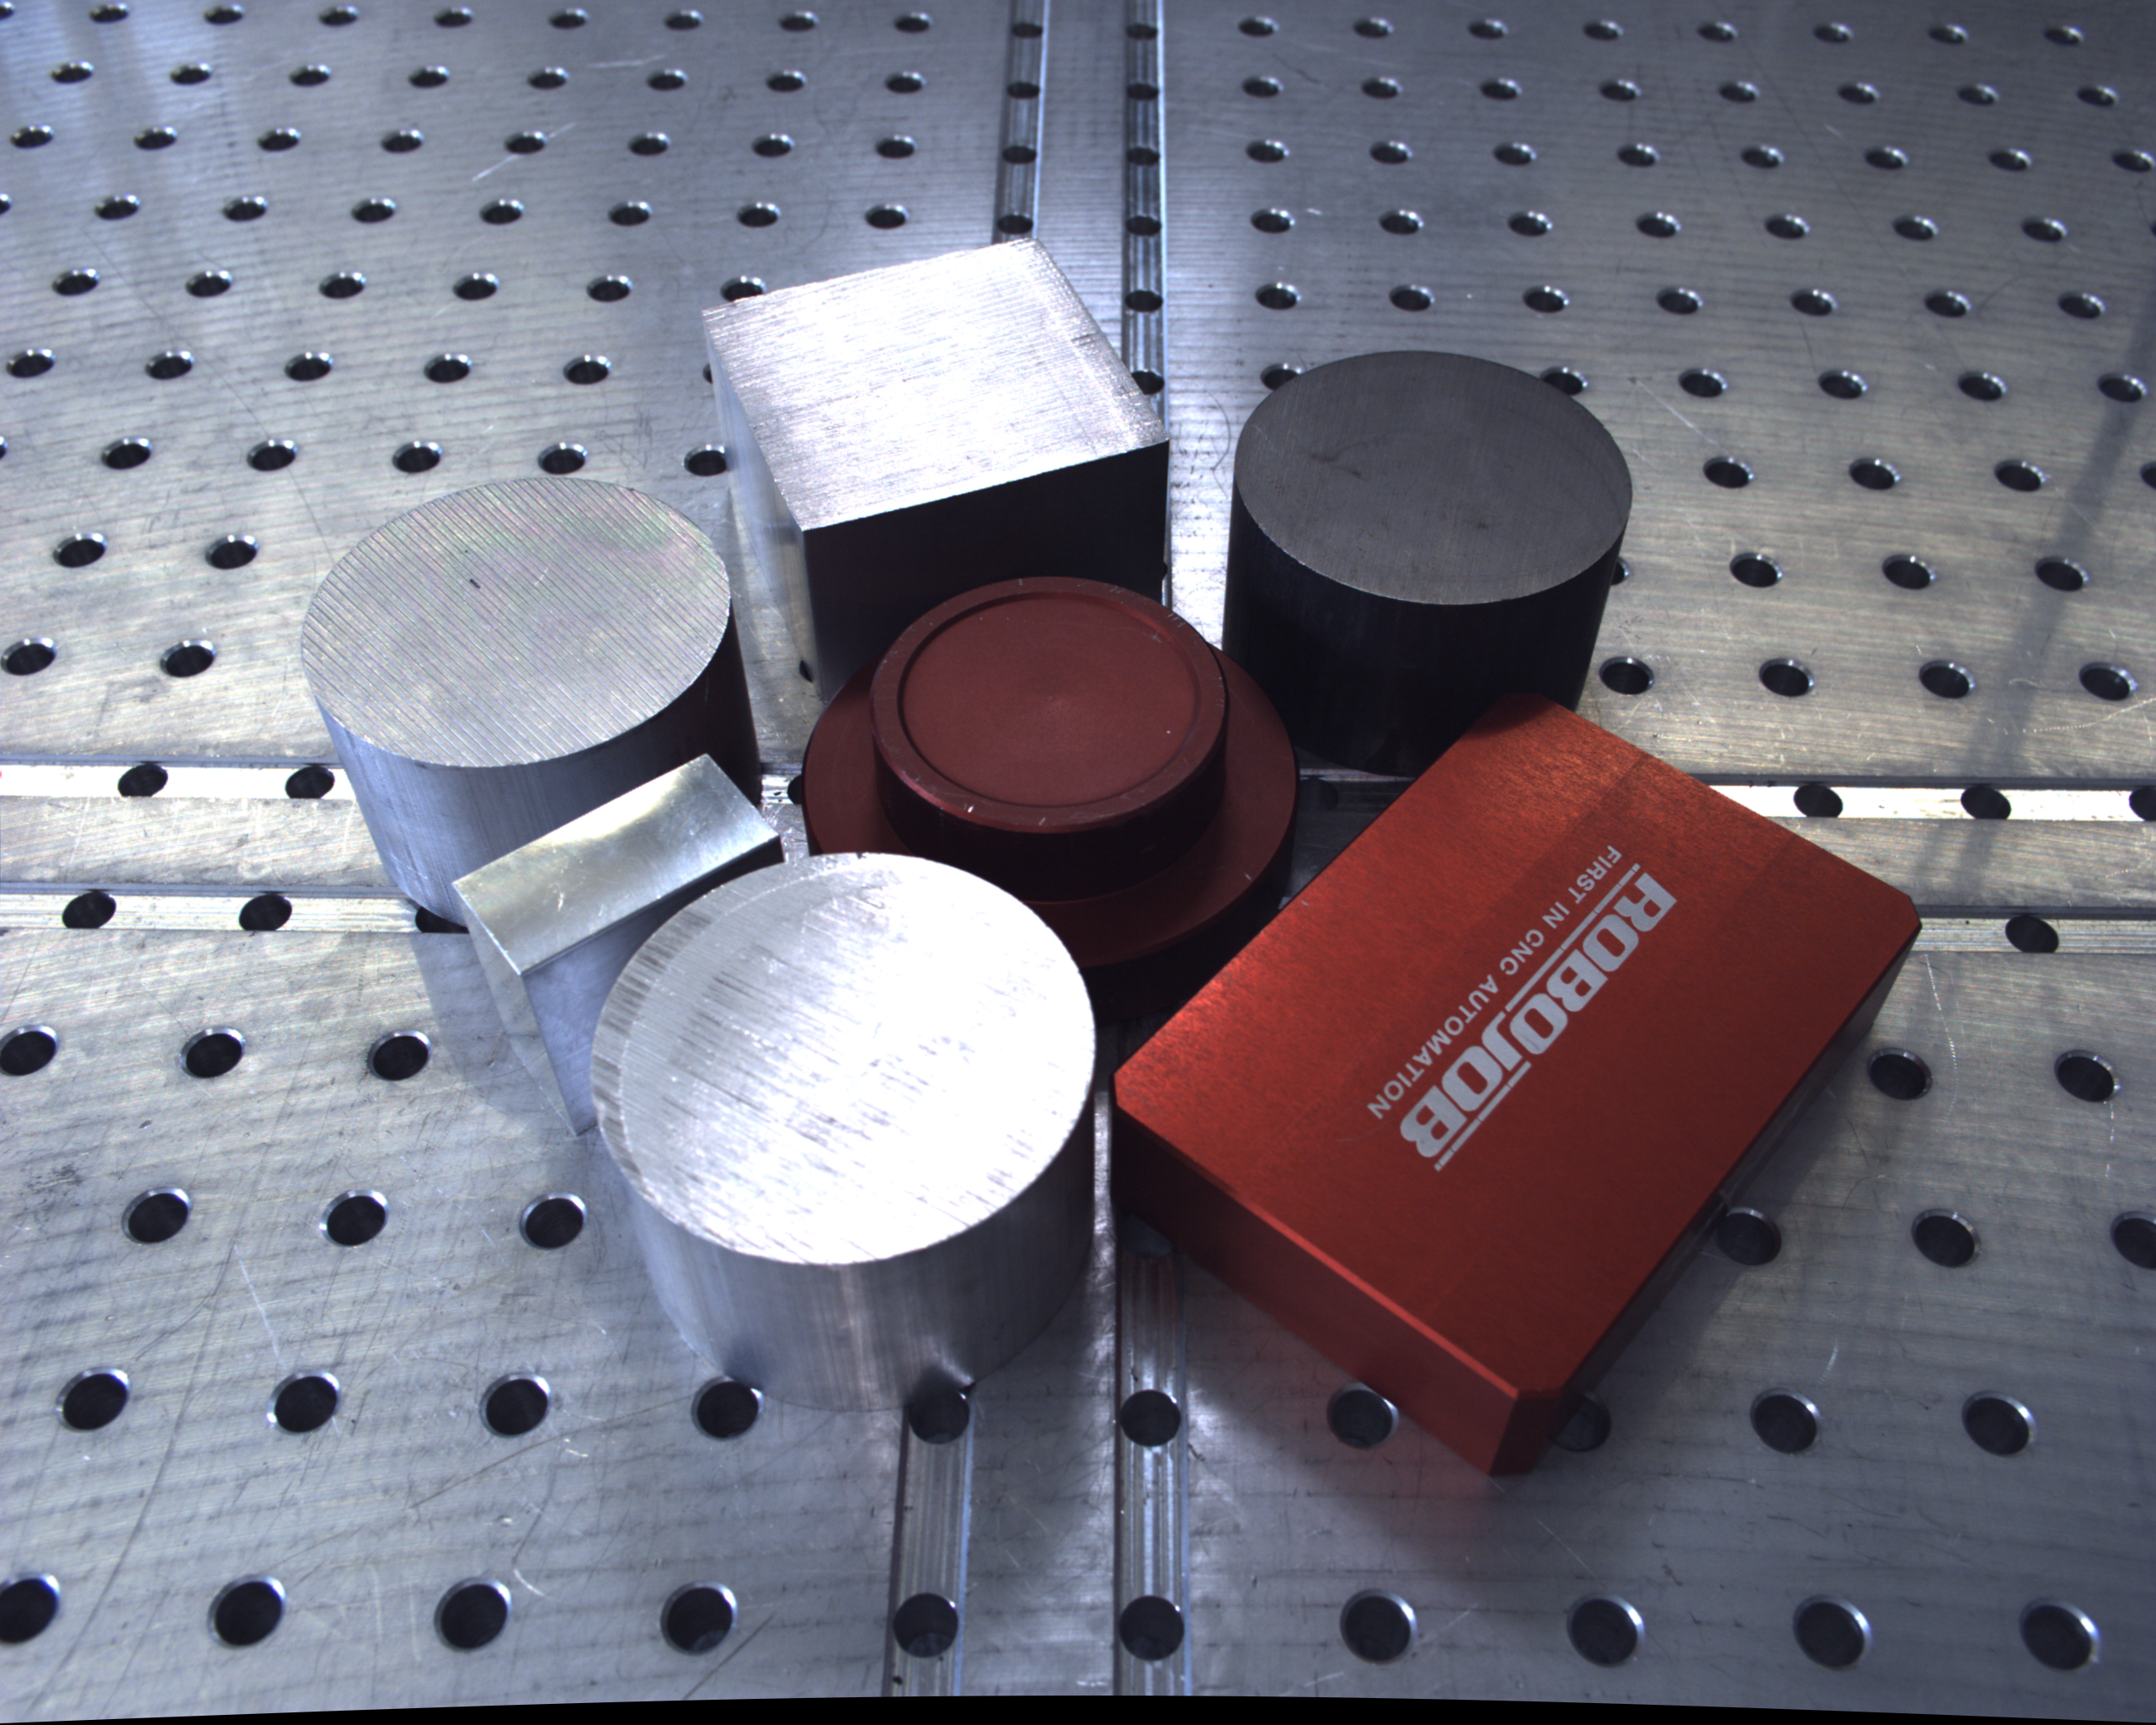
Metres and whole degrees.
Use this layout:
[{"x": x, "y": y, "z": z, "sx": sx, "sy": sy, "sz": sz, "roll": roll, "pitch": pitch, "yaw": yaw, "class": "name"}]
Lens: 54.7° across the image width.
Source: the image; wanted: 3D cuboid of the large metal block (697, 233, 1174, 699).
[{"x": -0.032, "y": -0.090, "z": 0.466, "sx": 0.081, "sy": 0.050, "sz": 0.080, "roll": -17, "pitch": 52, "yaw": -14, "class": "large metal block"}]

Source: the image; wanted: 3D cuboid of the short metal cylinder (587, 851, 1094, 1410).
[{"x": -0.038, "y": 0.044, "z": 0.353, "sx": 0.080, "sy": 0.050, "sz": 0.080, "roll": 0, "pitch": 50, "yaw": 0, "class": "short metal cylinder"}]

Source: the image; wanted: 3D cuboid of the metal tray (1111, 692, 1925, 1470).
[{"x": 0.079, "y": 0.032, "z": 0.376, "sx": 0.090, "sy": 0.030, "sz": 0.131, "roll": 33, "pitch": 57, "yaw": 25, "class": "metal tray"}]

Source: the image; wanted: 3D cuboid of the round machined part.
[{"x": -0.006, "y": -0.019, "z": 0.411, "sx": 0.099, "sy": 0.042, "sz": 0.098, "roll": 0, "pitch": 50, "yaw": 0, "class": "round machined part"}]

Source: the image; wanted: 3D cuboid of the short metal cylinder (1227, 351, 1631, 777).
[{"x": 0.072, "y": -0.064, "z": 0.445, "sx": 0.080, "sy": 0.050, "sz": 0.080, "roll": 0, "pitch": 50, "yaw": 0, "class": "short metal cylinder"}]

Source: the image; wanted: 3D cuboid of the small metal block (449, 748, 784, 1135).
[{"x": -0.079, "y": 0.015, "z": 0.377, "sx": 0.050, "sy": 0.050, "sz": 0.025, "roll": -30, "pitch": 56, "yaw": -23, "class": "small metal block"}]

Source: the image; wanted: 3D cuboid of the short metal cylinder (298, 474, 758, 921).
[{"x": -0.107, "y": -0.032, "z": 0.417, "sx": 0.080, "sy": 0.050, "sz": 0.080, "roll": 0, "pitch": 50, "yaw": 0, "class": "short metal cylinder"}]
